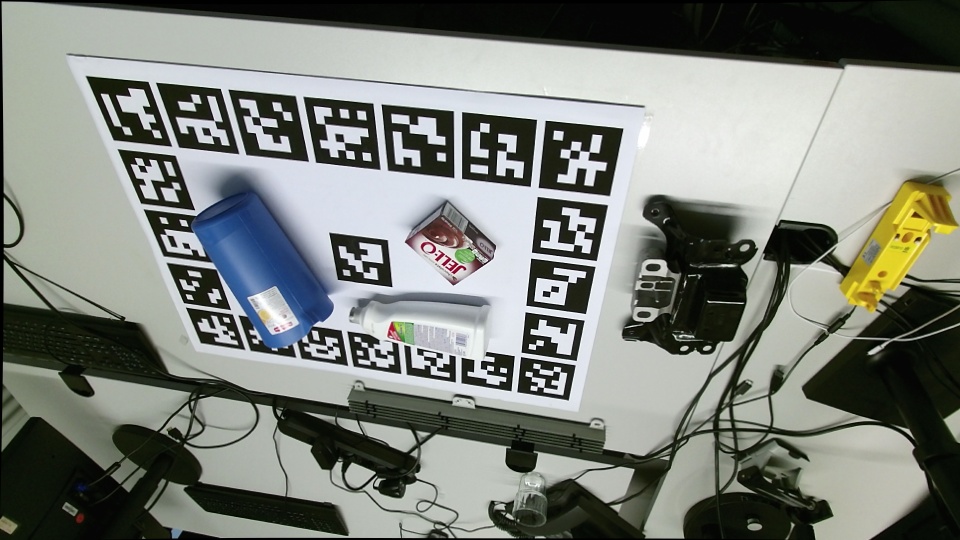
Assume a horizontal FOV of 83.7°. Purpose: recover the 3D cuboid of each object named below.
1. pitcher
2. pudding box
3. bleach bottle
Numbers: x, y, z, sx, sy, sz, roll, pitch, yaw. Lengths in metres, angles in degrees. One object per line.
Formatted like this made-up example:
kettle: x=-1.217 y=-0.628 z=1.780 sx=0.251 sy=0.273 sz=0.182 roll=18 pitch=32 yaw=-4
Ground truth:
pitcher: x=-0.379 y=-0.003 z=0.908 sx=0.189 sy=0.133 sz=0.242 roll=9 pitch=130 yaw=50
pudding box: x=-0.056 y=-0.031 z=0.848 sx=0.090 sy=0.038 sz=0.114 roll=-31 pitch=112 yaw=35
bleach bottle: x=-0.122 y=0.106 z=0.952 sx=0.251 sy=0.067 sz=0.102 roll=6 pitch=122 yaw=10
